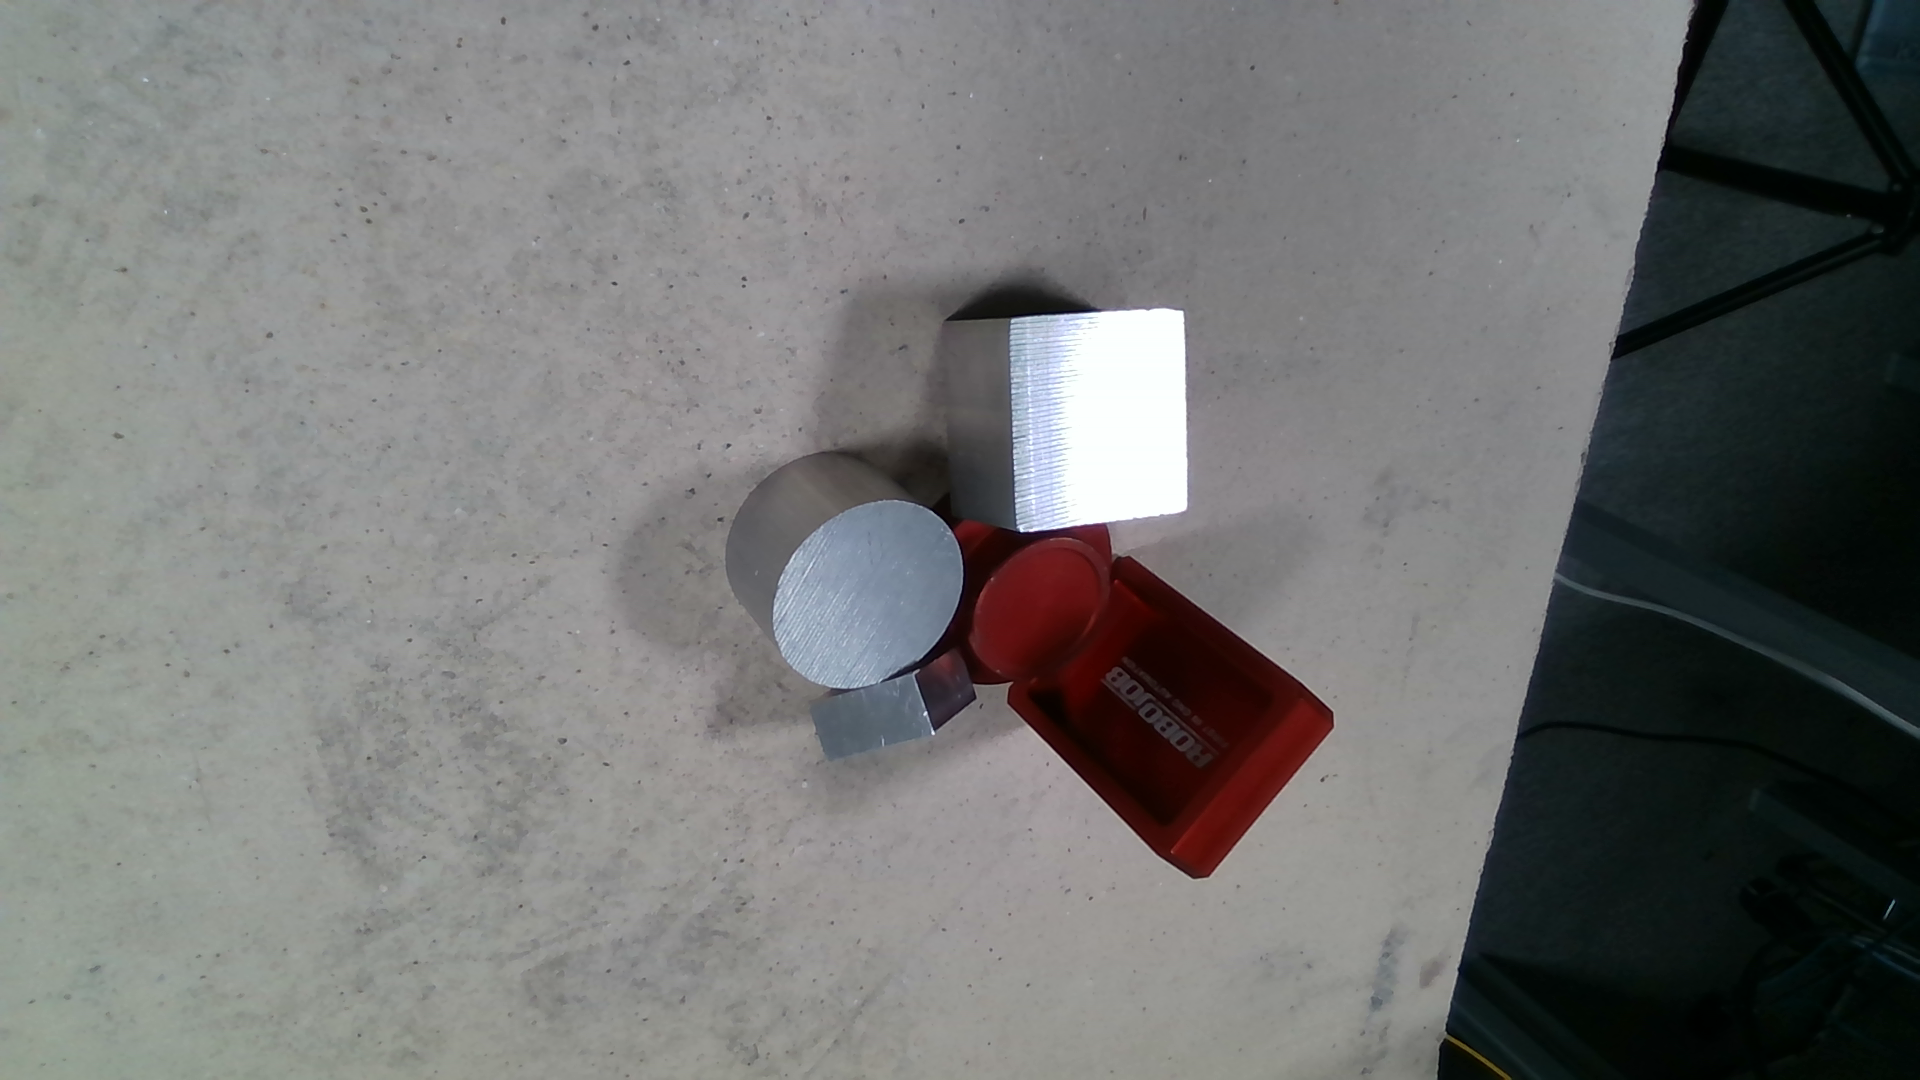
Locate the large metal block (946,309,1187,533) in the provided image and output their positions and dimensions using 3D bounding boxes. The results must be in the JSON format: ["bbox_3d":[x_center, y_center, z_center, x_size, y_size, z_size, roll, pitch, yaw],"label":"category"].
[{"bbox_3d":[0.042,-0.050,0.548,0.080,0.050,0.080,-8,101,-28],"label":"large metal block"}]

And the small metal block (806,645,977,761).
[{"bbox_3d":[-0.027,0.067,0.570,0.050,0.050,0.025,-18,93,23],"label":"small metal block"}]

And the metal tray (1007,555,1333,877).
[{"bbox_3d":[0.088,0.073,0.605,0.090,0.130,0.030,-51,129,2],"label":"metal tray"}]

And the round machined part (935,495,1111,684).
[{"bbox_3d":[0.025,0.020,0.597,0.098,0.042,0.098,-14,122,-25],"label":"round machined part"}]

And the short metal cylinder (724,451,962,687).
[{"bbox_3d":[-0.046,0.011,0.543,0.080,0.050,0.080,-14,122,-25],"label":"short metal cylinder"}]
